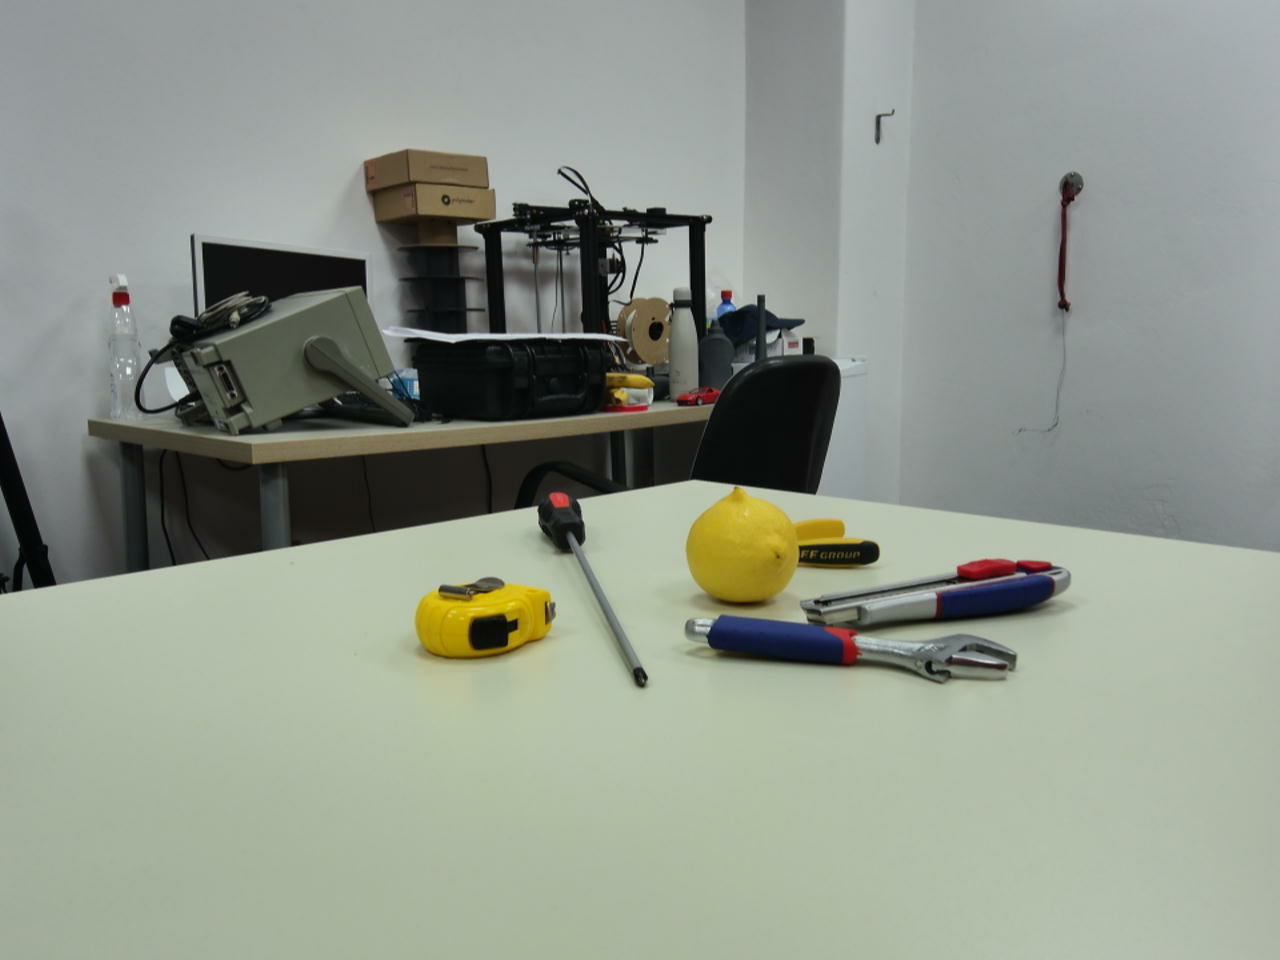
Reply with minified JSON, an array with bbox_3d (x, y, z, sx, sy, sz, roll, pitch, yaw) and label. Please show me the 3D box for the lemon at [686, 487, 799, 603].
[{"bbox_3d":[0.063,0.040,0.622,0.070,0.071,0.071,1,7,13],"label":"lemon"}]
